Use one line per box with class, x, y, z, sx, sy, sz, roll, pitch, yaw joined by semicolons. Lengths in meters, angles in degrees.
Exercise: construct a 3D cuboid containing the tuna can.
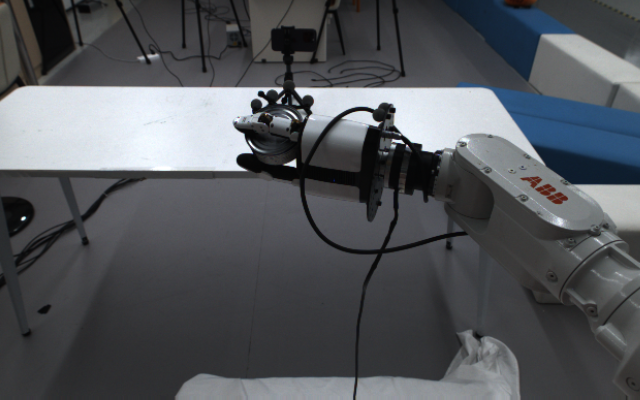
tuna can;-0.063;-0.094;0.691;0.085;0.034;0.085;-6;61;10
